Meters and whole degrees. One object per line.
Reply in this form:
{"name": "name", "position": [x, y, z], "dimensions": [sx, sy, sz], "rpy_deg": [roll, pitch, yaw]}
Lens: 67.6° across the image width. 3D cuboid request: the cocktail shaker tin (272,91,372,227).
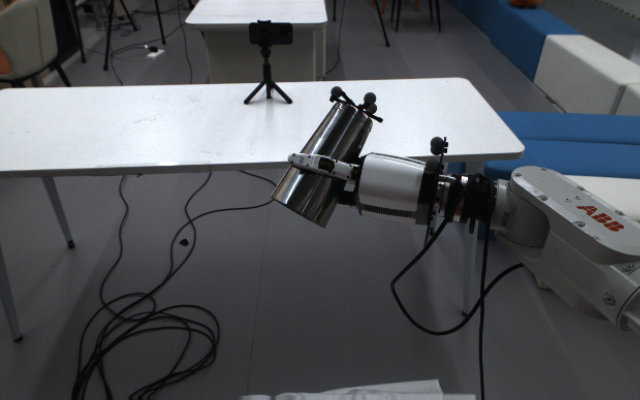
{"name": "cocktail shaker tin", "position": [0.009, -0.058, 0.713], "dimensions": [0.093, 0.093, 0.170], "rpy_deg": [26, 83, 31]}
